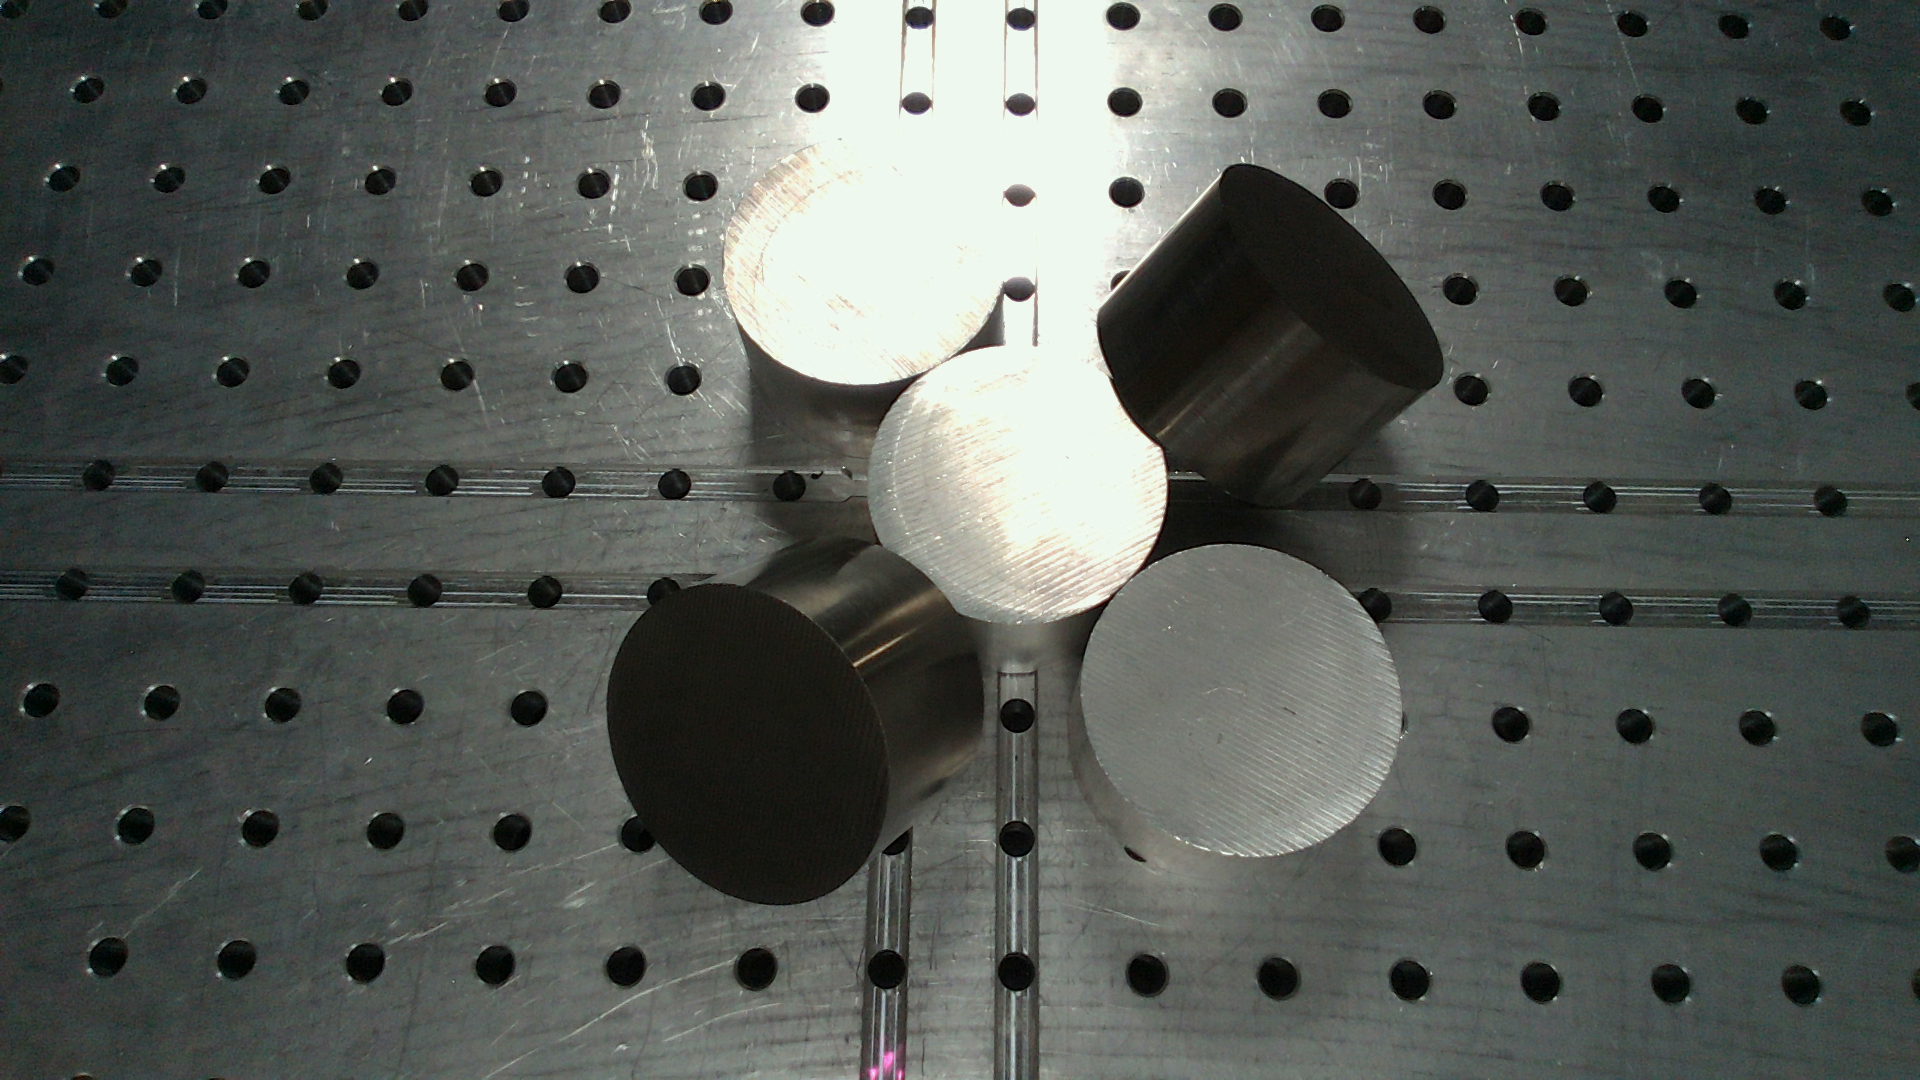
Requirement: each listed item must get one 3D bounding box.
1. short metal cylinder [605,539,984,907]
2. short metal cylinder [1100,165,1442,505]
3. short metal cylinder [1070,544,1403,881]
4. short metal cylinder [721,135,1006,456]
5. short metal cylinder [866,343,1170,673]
[{"bbox_3d":[-0.041,0.044,0.346,0.080,0.050,0.080,7,106,25],"label":"short metal cylinder"},{"bbox_3d":[0.086,-0.057,0.383,0.080,0.050,0.080,26,40,-24],"label":"short metal cylinder"},{"bbox_3d":[0.071,0.047,0.367,0.080,0.050,0.080,0,70,0],"label":"short metal cylinder"},{"bbox_3d":[-0.027,-0.072,0.410,0.080,0.050,0.080,0,70,0],"label":"short metal cylinder"},{"bbox_3d":[0.015,-0.008,0.386,0.080,0.050,0.080,0,70,0],"label":"short metal cylinder"}]
